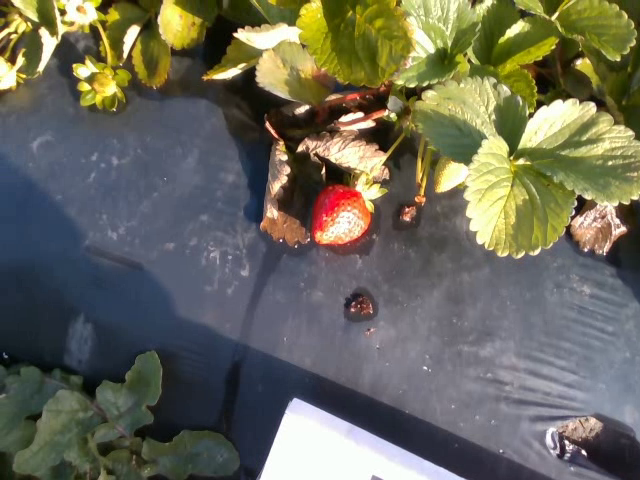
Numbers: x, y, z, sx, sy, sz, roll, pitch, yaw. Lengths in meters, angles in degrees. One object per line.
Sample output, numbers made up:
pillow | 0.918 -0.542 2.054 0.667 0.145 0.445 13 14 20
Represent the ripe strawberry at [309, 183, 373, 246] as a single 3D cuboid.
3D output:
ripe strawberry | 0.006 -0.007 0.347 0.054 0.046 0.038 -47 -1 -26
